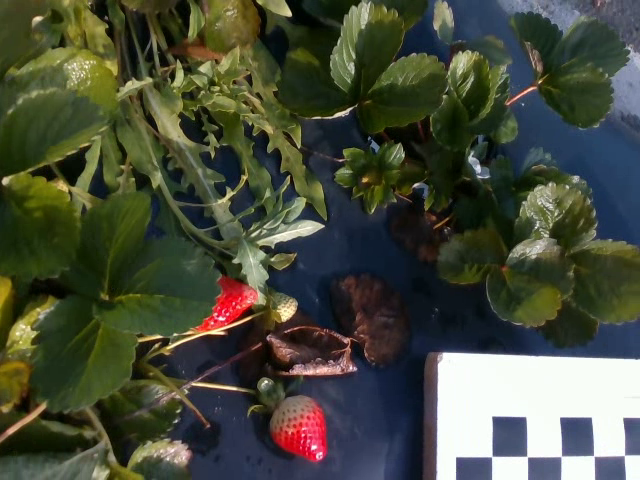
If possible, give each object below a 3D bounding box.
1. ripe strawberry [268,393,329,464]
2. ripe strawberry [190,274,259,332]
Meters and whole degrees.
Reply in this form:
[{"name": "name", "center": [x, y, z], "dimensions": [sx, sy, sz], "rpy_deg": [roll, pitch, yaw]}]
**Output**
[{"name": "ripe strawberry", "center": [-0.010, 0.110, 0.366], "dimensions": [0.035, 0.043, 0.030], "rpy_deg": [-34, -4, -18]}, {"name": "ripe strawberry", "center": [-0.059, 0.033, 0.363], "dimensions": [0.048, 0.040, 0.031], "rpy_deg": [-15, -7, 26]}]
